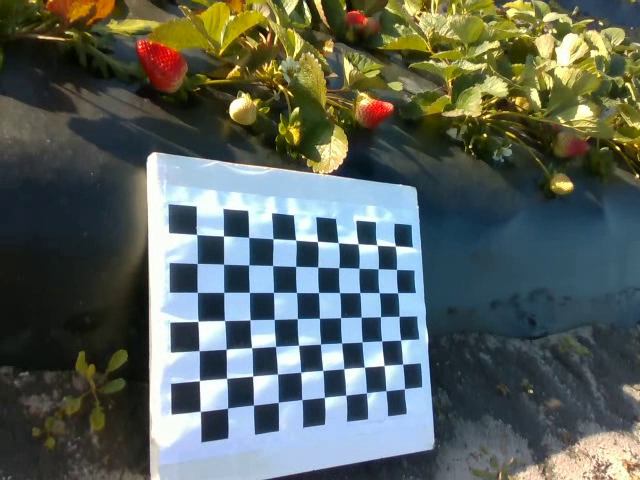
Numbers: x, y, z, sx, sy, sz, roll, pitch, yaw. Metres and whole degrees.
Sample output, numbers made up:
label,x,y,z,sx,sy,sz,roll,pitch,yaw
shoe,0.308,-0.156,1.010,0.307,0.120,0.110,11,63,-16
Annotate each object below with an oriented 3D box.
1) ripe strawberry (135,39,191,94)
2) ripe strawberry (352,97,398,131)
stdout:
label,x,y,z,sx,sy,sz,roll,pitch,yaw
ripe strawberry,-0.129,-0.141,0.494,0.053,0.043,0.036,36,-25,-32
ripe strawberry,0.053,-0.125,0.597,0.045,0.037,0.042,-16,2,28
